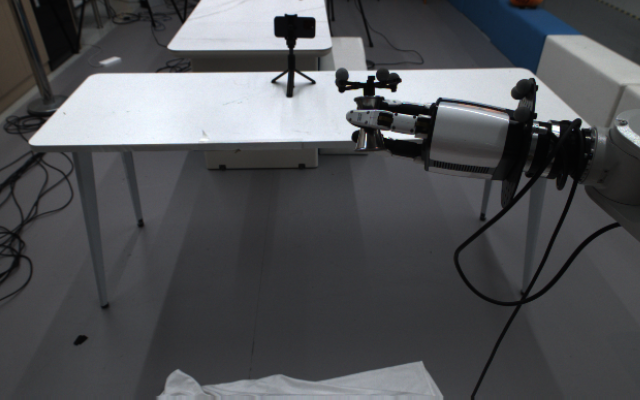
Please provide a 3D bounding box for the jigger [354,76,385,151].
[{"bbox_3d":[0.064,-0.099,0.631,0.043,0.071,0.043,-2,3,0],"label":"jigger"}]
